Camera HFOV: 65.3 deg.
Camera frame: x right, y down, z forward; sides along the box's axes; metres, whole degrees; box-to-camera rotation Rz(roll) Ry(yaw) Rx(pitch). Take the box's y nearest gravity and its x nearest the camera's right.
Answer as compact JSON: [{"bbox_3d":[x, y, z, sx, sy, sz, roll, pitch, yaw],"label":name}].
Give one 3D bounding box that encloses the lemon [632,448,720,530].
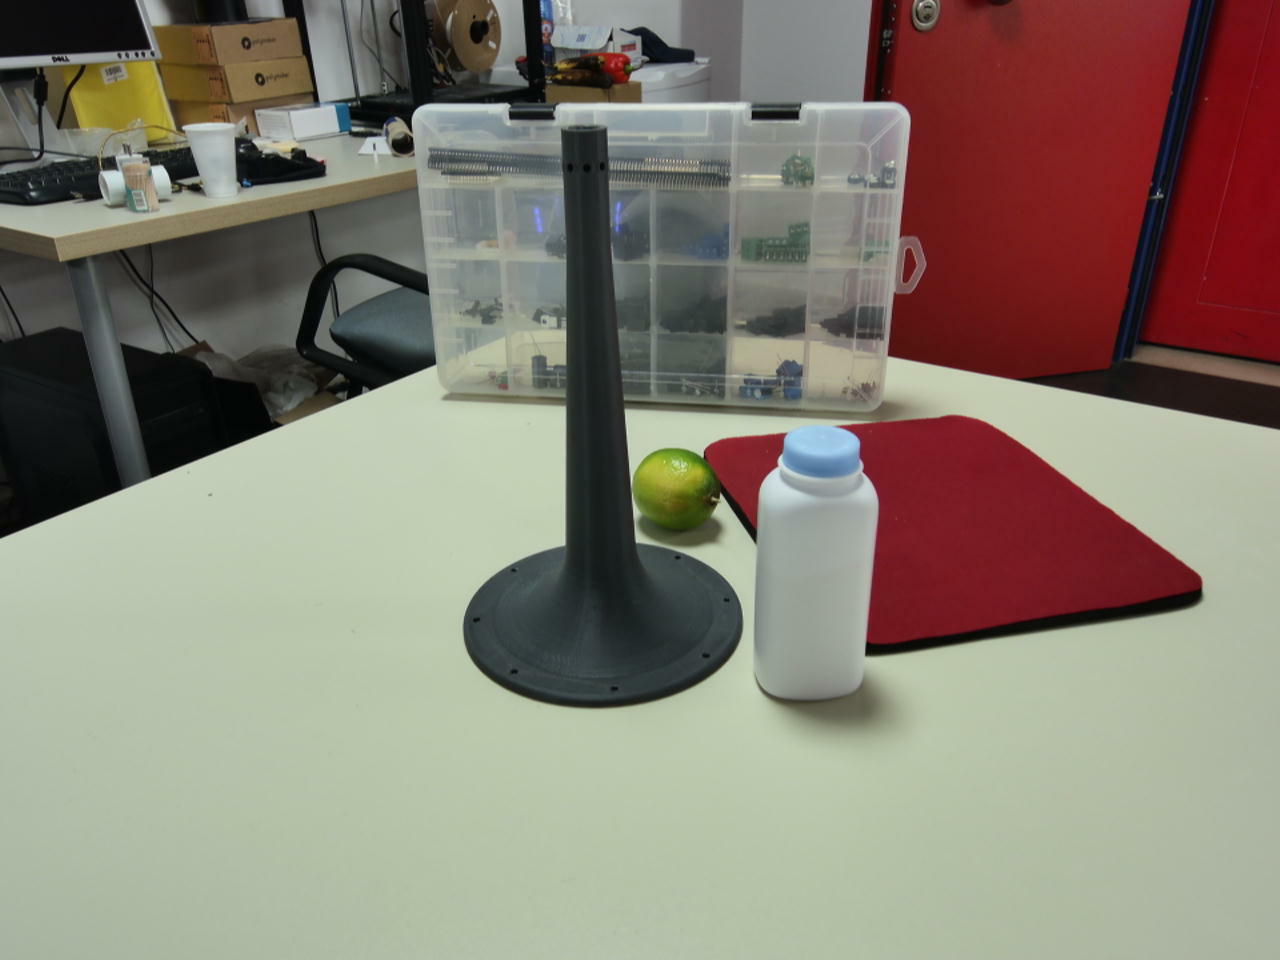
[{"bbox_3d":[0.022,0.005,0.626,0.054,0.050,0.055,-1,25,-4],"label":"lemon"}]
